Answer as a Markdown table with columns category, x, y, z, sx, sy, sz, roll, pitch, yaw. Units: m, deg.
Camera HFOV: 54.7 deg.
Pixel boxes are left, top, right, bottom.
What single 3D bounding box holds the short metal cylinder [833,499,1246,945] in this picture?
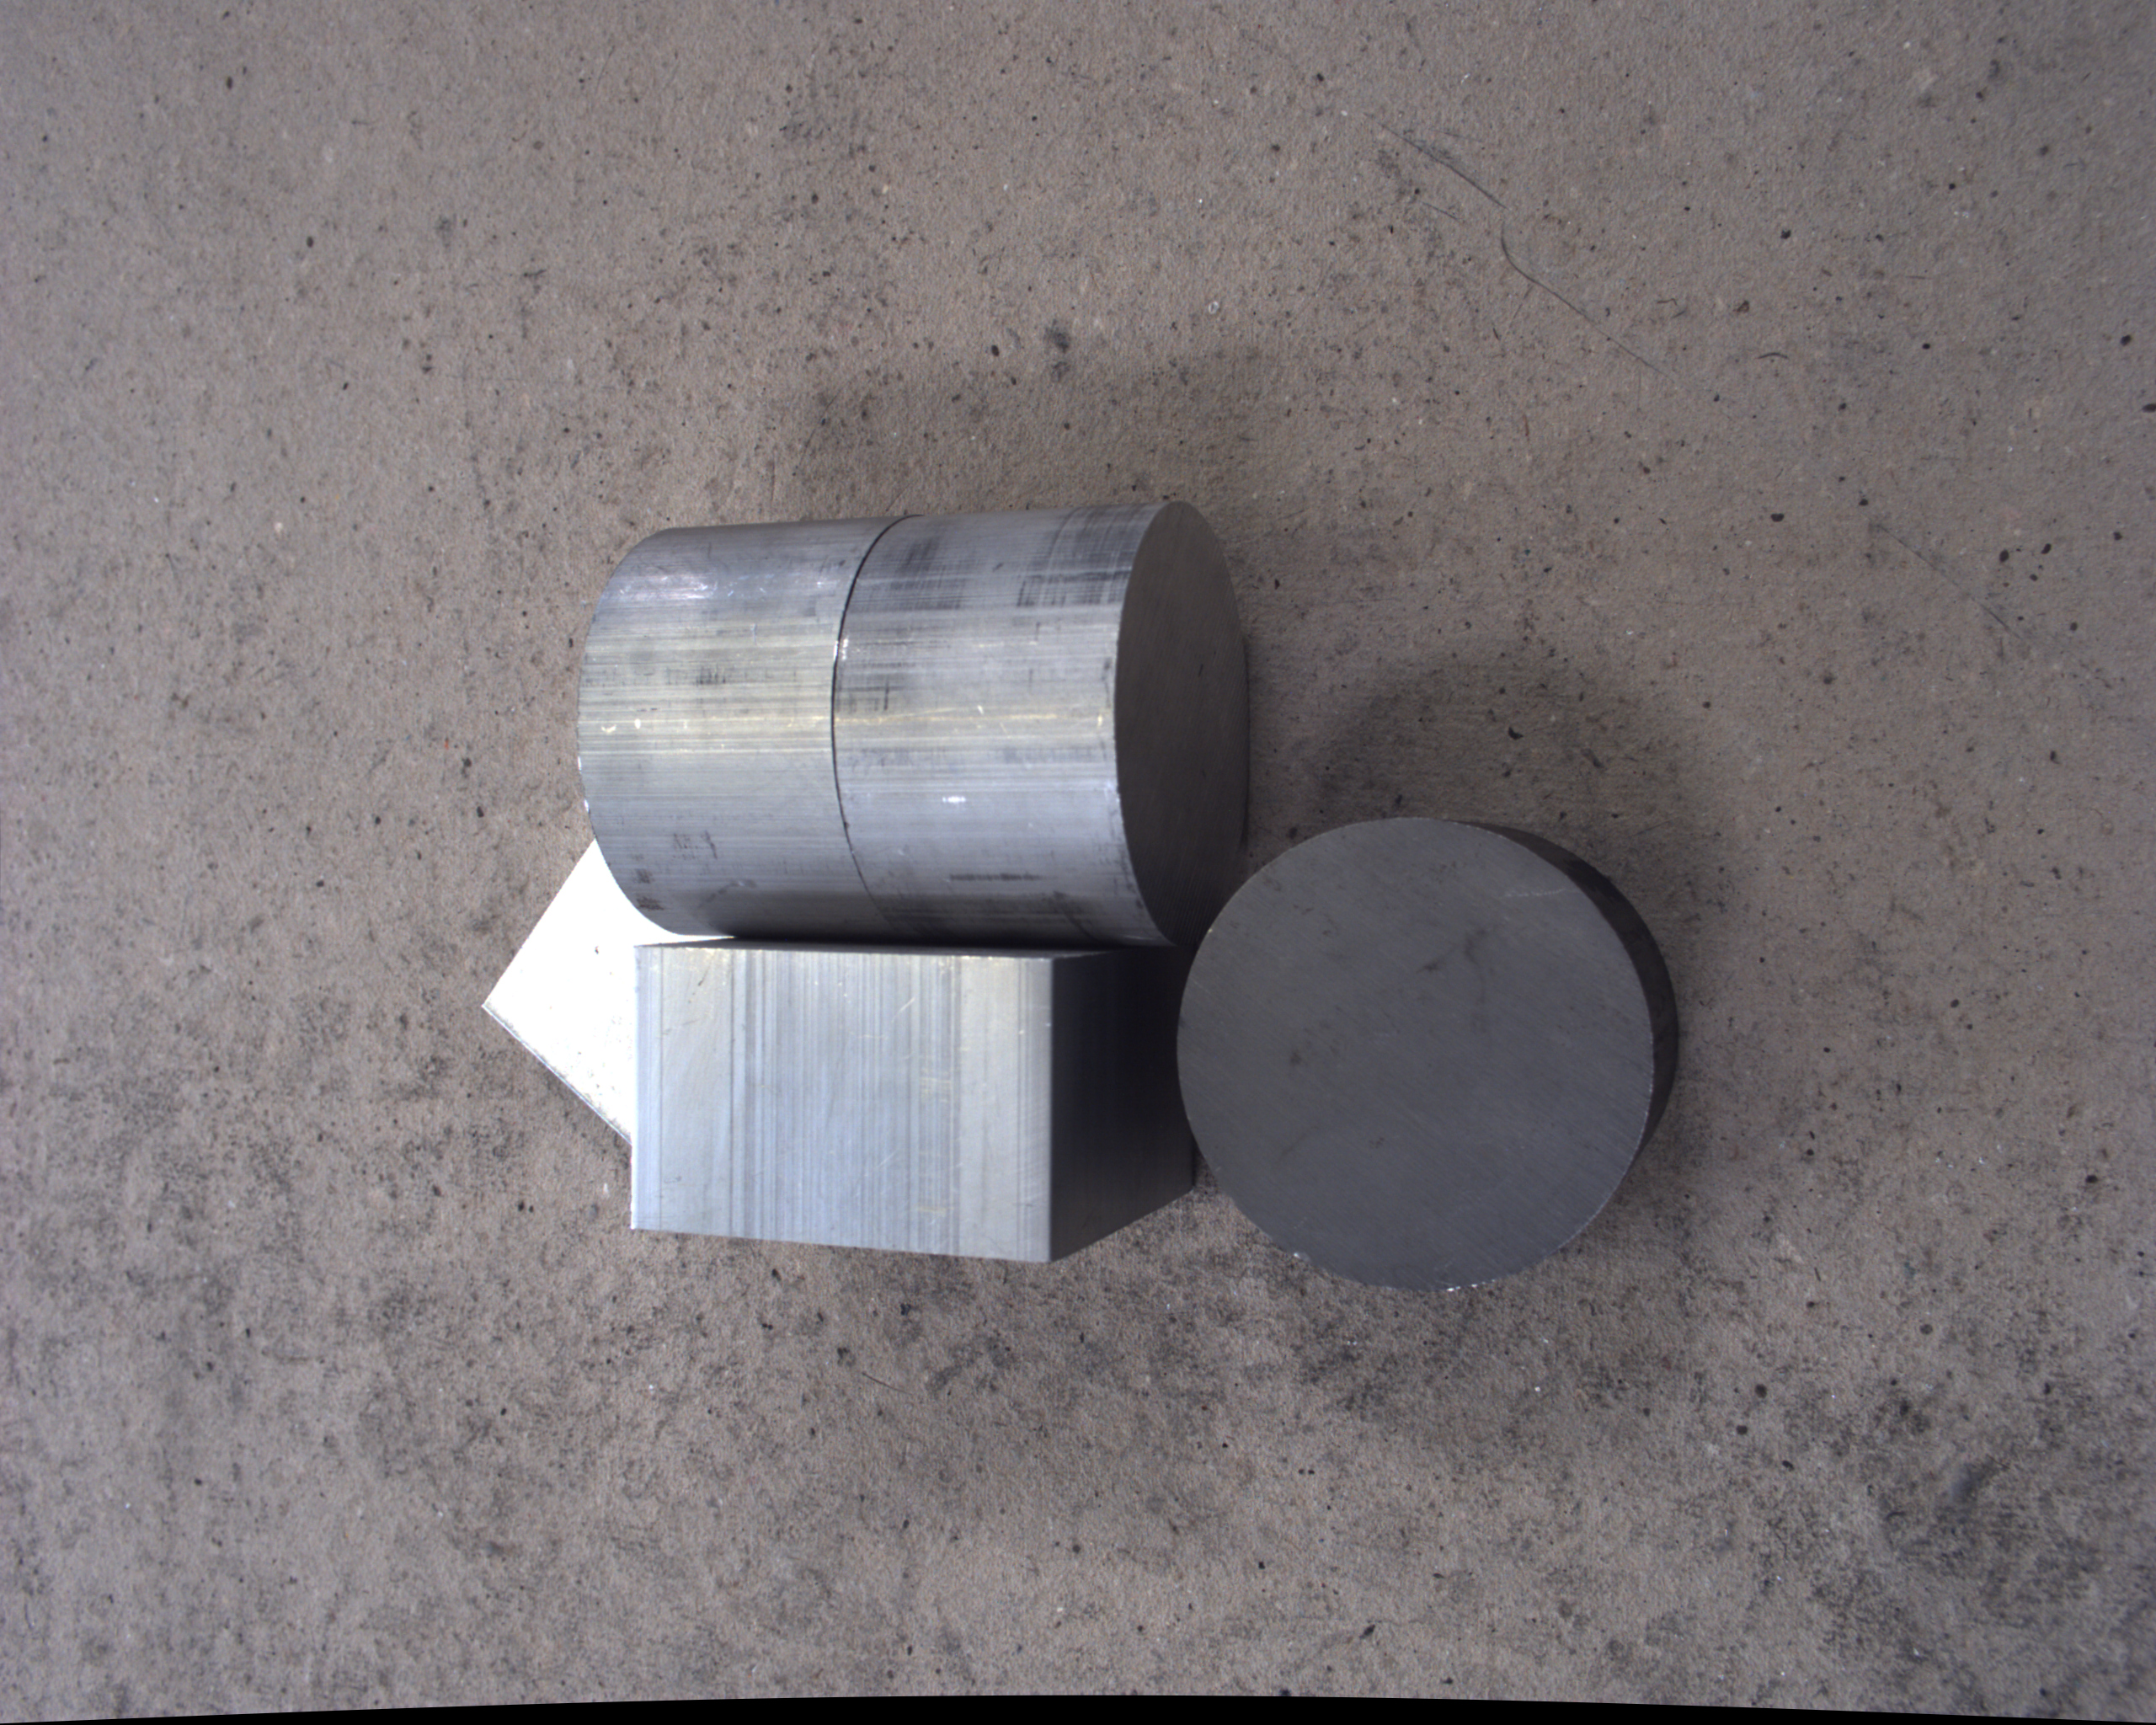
| category | x | y | z | sx | sy | sz | roll | pitch | yaw |
| --- | --- | --- | --- | --- | --- | --- | --- | --- | --- |
| short metal cylinder | -0.004 | -0.025 | 0.383 | 0.050 | 0.080 | 0.079 | 1 | 90 | 20 |

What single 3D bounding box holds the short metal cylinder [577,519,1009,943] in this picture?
| category | x | y | z | sx | sy | sz | roll | pitch | yaw |
| --- | --- | --- | --- | --- | --- | --- | --- | --- | --- |
| short metal cylinder | -0.051 | -0.025 | 0.400 | 0.050 | 0.080 | 0.079 | 1 | 90 | 20 |

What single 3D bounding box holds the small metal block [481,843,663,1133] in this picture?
| category | x | y | z | sx | sy | sz | roll | pitch | yaw |
| --- | --- | --- | --- | --- | --- | --- | --- | --- | --- |
| small metal block | -0.089 | 0.026 | 0.442 | 0.050 | 0.025 | 0.050 | 39 | 102 | 15 |

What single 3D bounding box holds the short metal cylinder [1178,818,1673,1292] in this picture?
| category | x | y | z | sx | sy | sz | roll | pitch | yaw |
| --- | --- | --- | --- | --- | --- | --- | --- | --- | --- |
| short metal cylinder | 0.064 | 0.032 | 0.374 | 0.080 | 0.050 | 0.079 | 0 | 90 | 20 |

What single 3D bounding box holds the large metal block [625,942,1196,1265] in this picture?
| category | x | y | z | sx | sy | sz | roll | pitch | yaw |
| --- | --- | --- | --- | --- | --- | --- | --- | --- | --- |
| large metal block | -0.028 | 0.040 | 0.391 | 0.080 | 0.080 | 0.050 | 1 | 91 | 20 |
